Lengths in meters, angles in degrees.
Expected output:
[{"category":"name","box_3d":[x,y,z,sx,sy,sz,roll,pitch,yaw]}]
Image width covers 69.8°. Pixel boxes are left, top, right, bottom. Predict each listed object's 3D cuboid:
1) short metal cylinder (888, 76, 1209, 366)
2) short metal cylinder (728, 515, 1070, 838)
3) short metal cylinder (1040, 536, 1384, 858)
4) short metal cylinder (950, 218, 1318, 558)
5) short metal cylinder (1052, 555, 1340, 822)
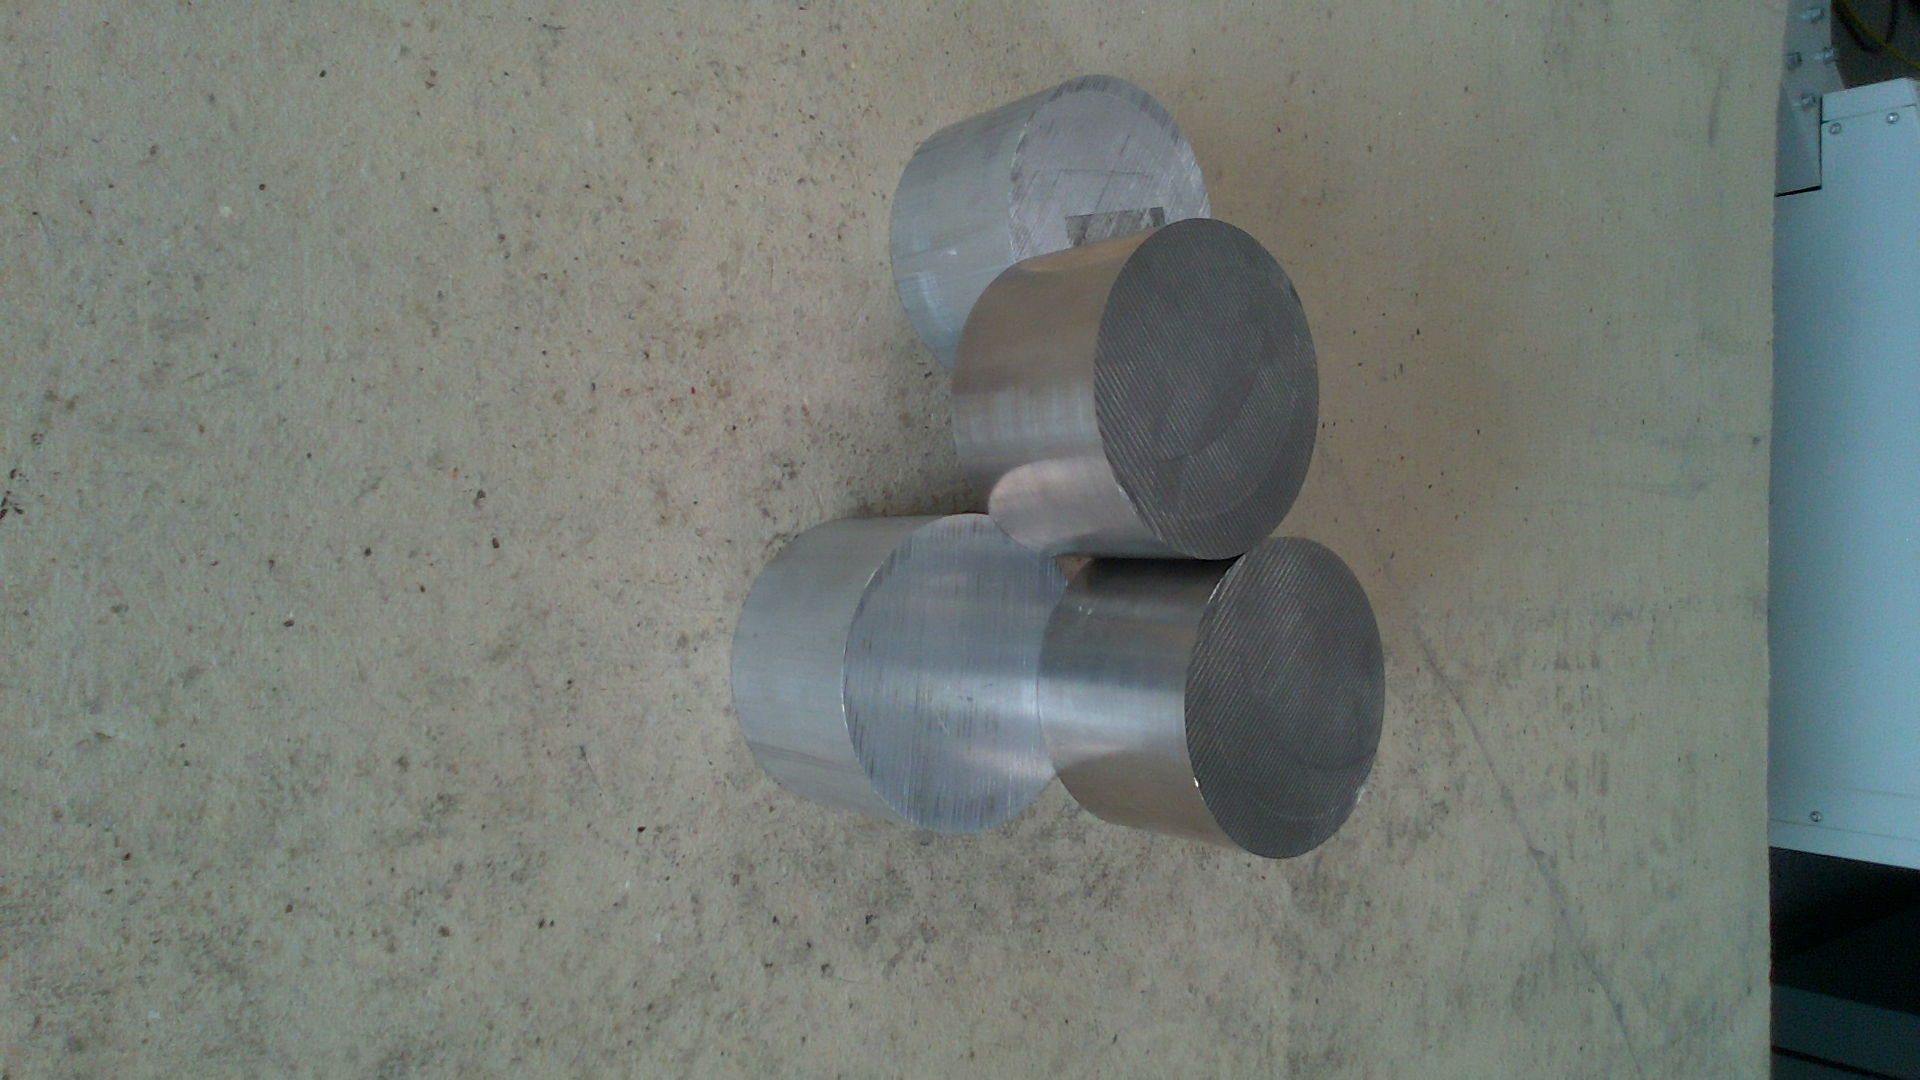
[{"category":"short metal cylinder","box_3d":[0.027,-0.086,0.395,0.080,0.050,0.080,0,90,-40]},{"category":"short metal cylinder","box_3d":[-0.013,0.034,0.362,0.080,0.050,0.080,0,90,-40]},{"category":"short metal cylinder","box_3d":[0.067,0.039,0.363,0.080,0.050,0.080,0,90,-40]},{"category":"short metal cylinder","box_3d":[0.044,-0.036,0.344,0.080,0.050,0.080,0,90,-39]},{"category":"short metal cylinder","box_3d":[0.075,0.045,0.435,0.080,0.050,0.080,0,90,-40]}]
